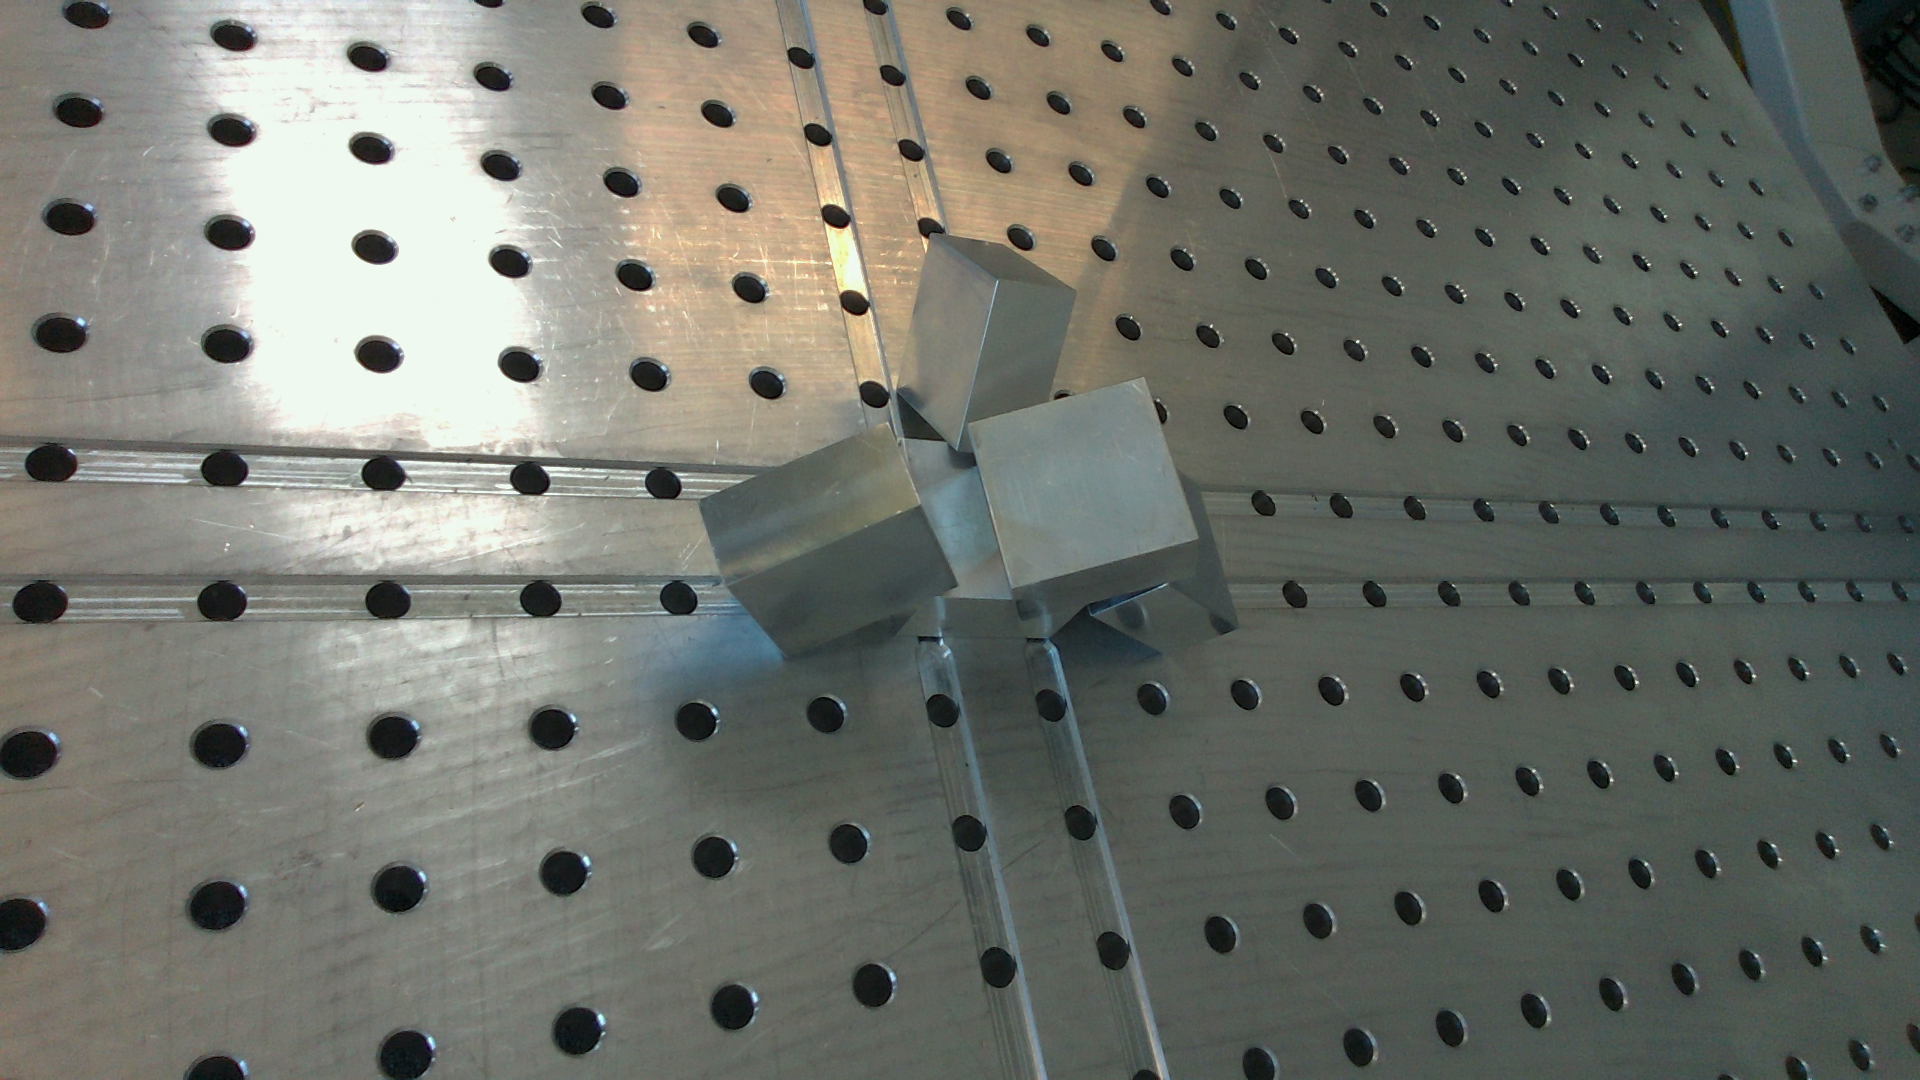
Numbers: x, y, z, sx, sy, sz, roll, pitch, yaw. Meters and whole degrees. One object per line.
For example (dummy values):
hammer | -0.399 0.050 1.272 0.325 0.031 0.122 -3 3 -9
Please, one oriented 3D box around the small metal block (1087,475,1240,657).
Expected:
small metal block | 0.055 0.002 0.407 0.050 0.025 0.050 27 44 -52

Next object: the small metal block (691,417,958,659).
small metal block | -0.032 0.001 0.345 0.050 0.050 0.025 -23 63 0

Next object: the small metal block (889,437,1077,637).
small metal block | 0.004 0.000 0.395 0.050 0.025 0.050 2 60 -27

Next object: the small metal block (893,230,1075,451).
small metal block | 0.005 -0.058 0.402 0.025 0.050 0.050 3 24 -26

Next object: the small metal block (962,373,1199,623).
small metal block | 0.032 -0.011 0.370 0.050 0.025 0.050 -15 65 1
